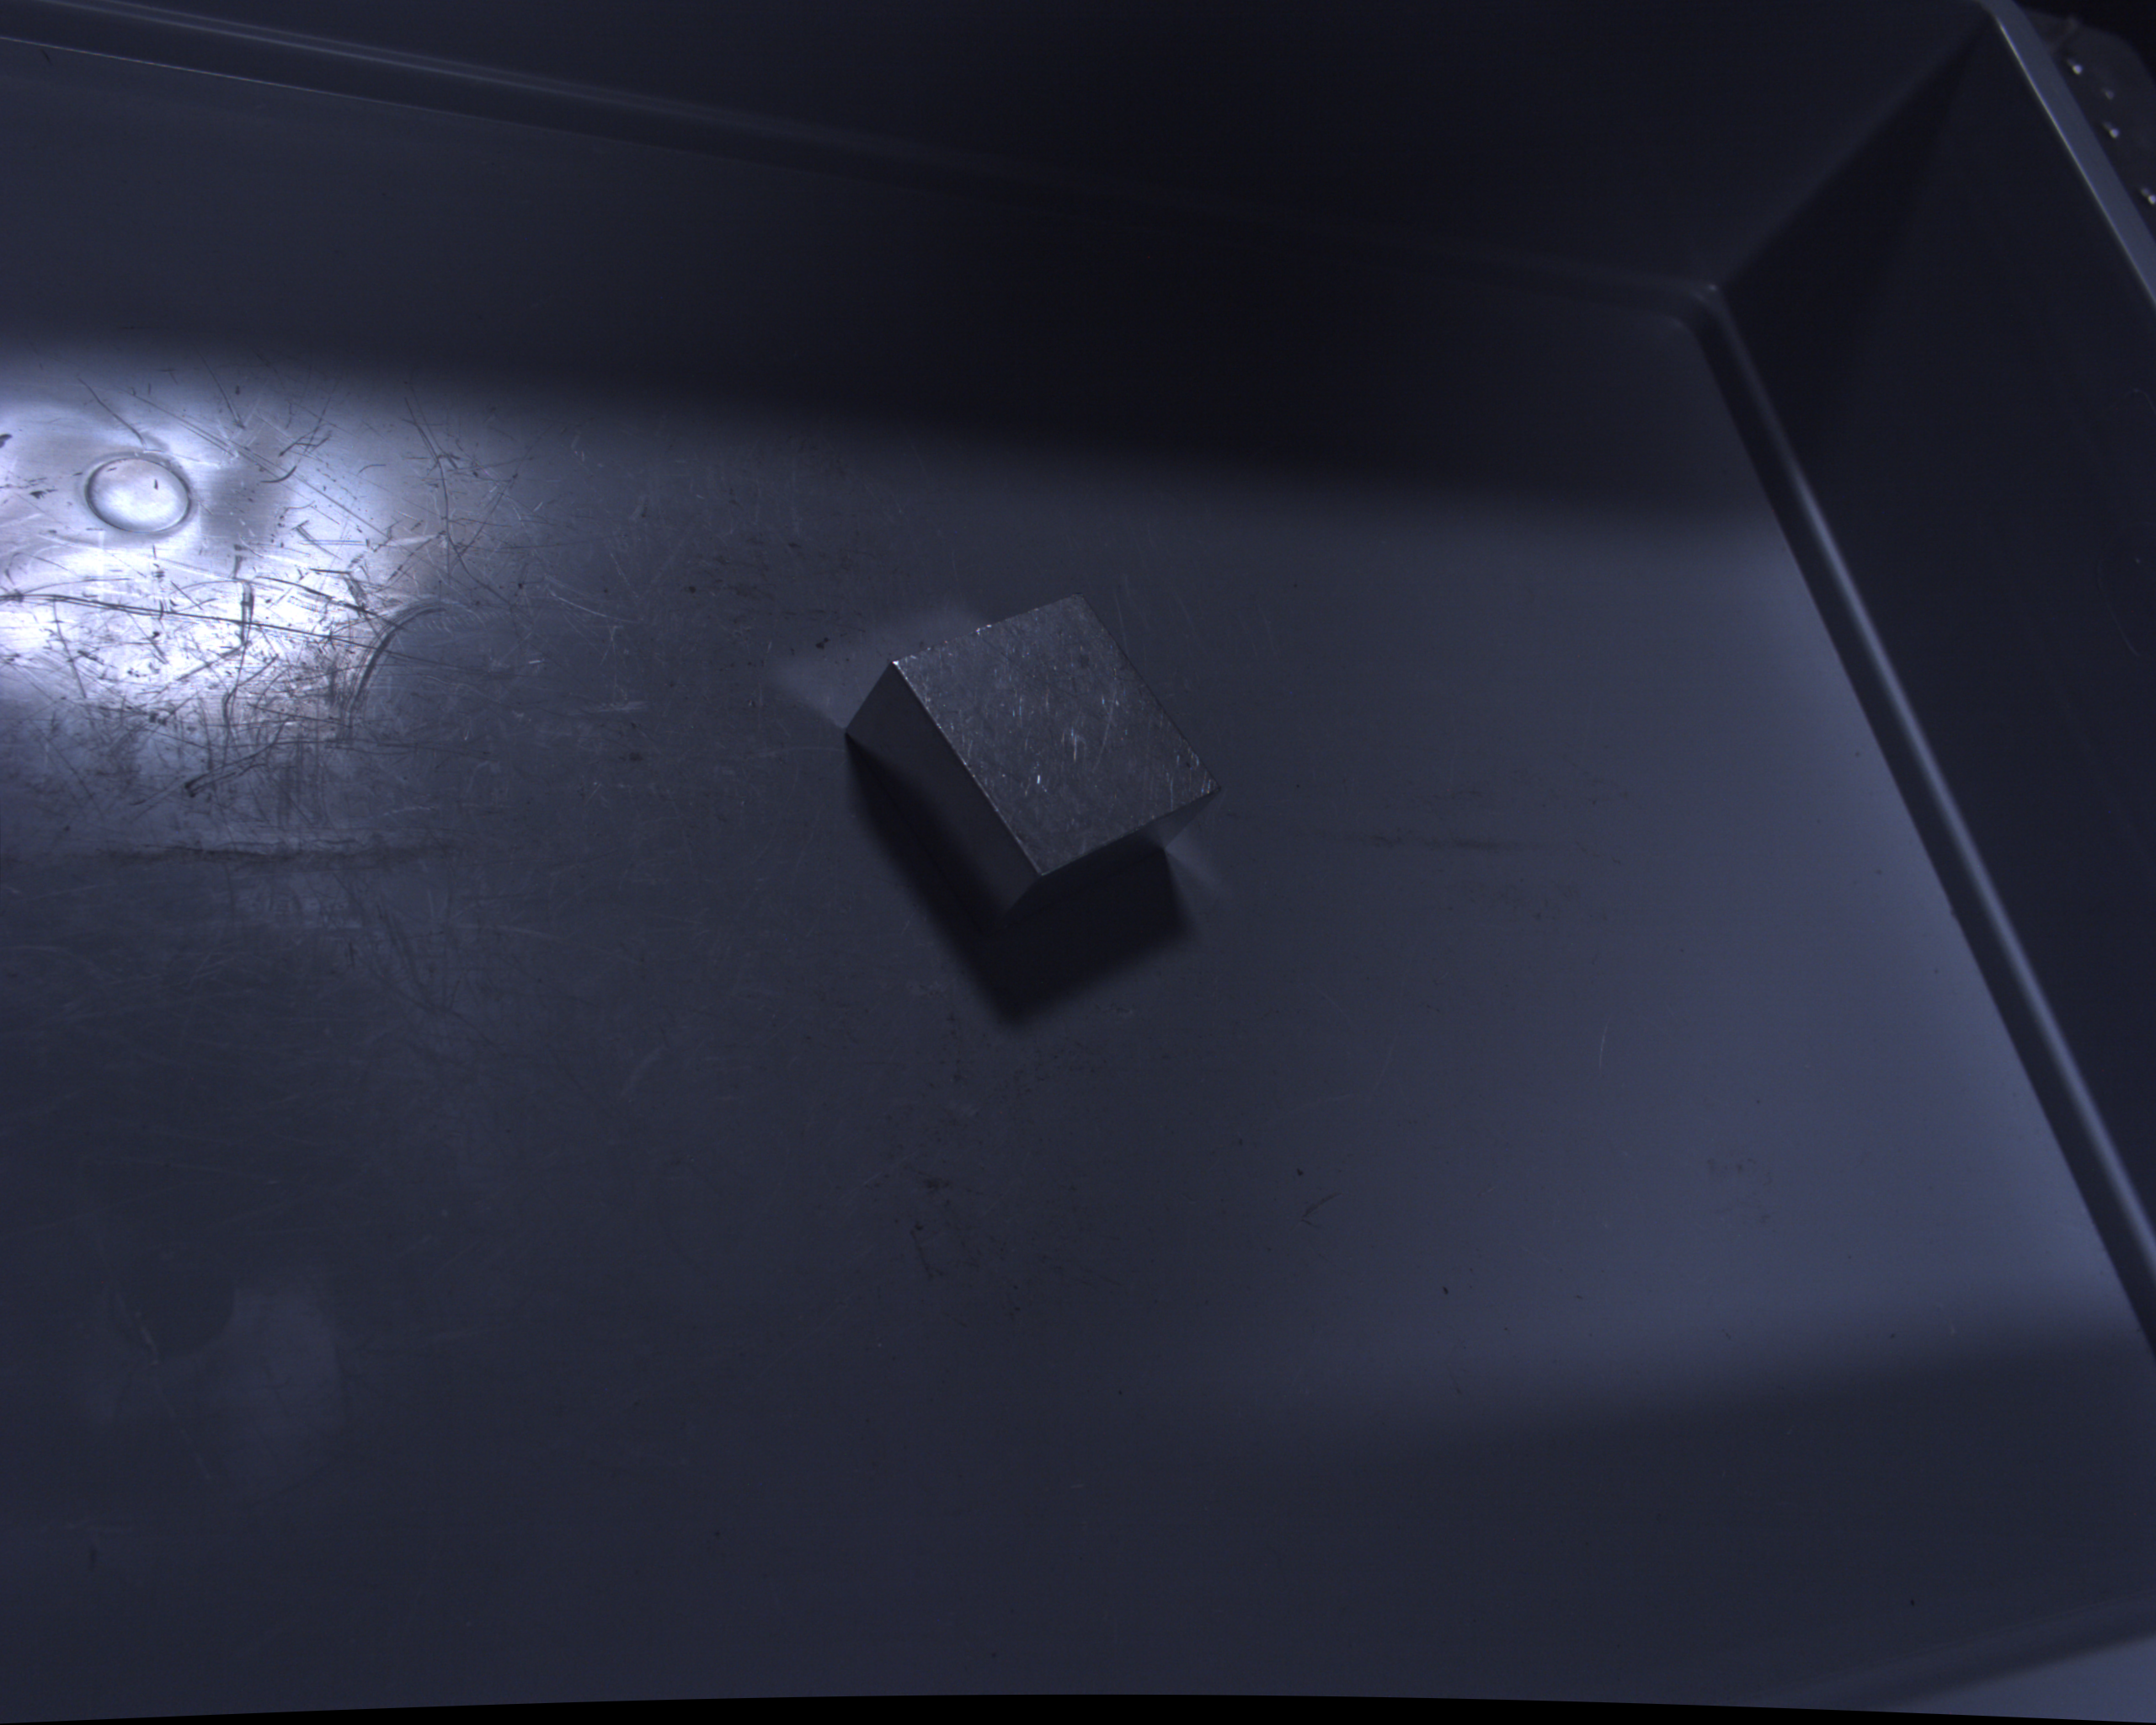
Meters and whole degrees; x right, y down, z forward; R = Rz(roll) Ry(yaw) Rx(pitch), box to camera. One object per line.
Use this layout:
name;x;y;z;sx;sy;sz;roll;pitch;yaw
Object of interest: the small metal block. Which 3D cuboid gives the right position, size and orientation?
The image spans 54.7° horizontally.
small metal block;-0.009;-0.020;0.410;0.050;0.025;0.050;-26;76;-37
